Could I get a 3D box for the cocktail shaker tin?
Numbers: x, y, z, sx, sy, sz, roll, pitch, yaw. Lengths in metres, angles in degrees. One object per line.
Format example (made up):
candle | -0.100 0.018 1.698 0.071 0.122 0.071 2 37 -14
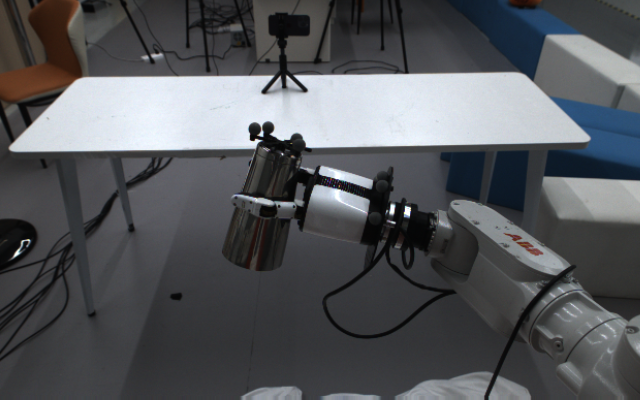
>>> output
cocktail shaker tin | -0.079 0.006 0.700 0.093 0.170 0.093 15 17 -5
